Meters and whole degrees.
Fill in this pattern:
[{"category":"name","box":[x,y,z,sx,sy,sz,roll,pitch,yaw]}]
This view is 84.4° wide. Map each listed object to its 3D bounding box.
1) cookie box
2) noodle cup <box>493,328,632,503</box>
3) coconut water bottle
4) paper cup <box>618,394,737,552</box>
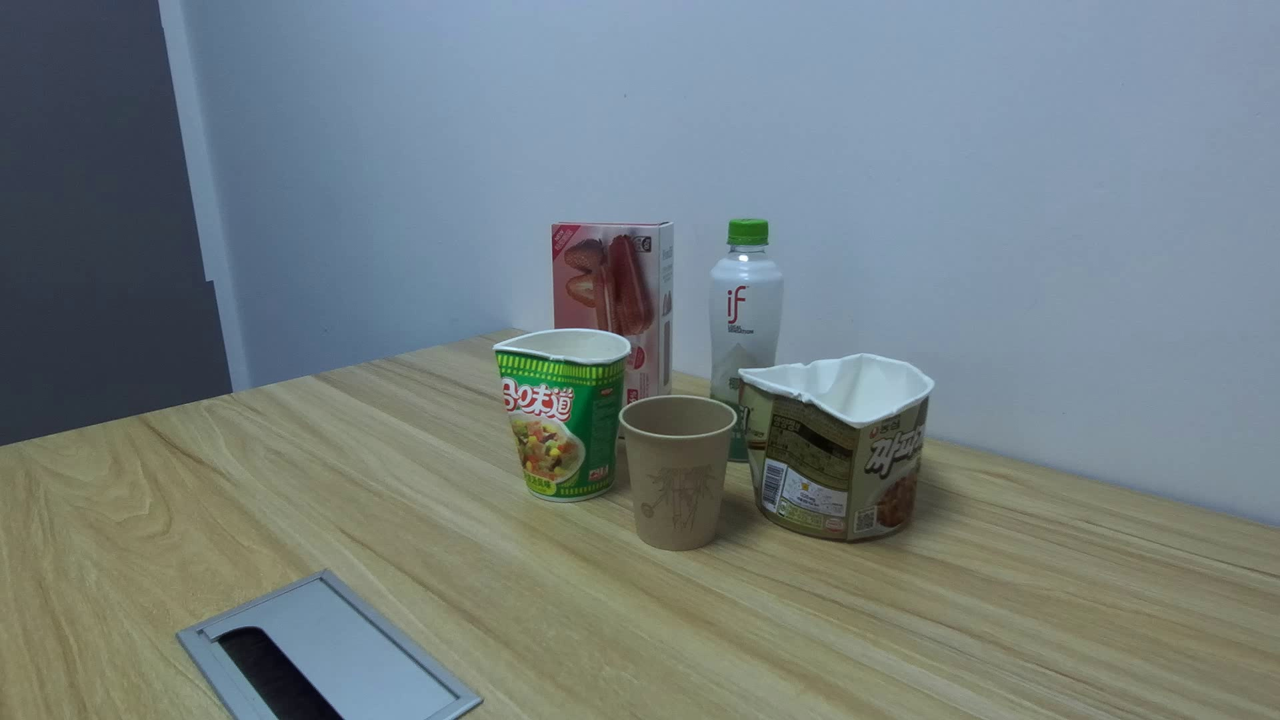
[{"category":"cookie box","box":[-0.021,-0.026,0.615,0.096,0.184,0.048,4,15,17]},{"category":"noodle cup","box":[-0.049,0.040,0.525,0.087,0.109,0.093,-15,23,-37]},{"category":"coconut water bottle","box":[0.084,-0.016,0.567,0.063,0.188,0.063,0,17,0]},{"category":"paper cup","box":[0.024,0.074,0.458,0.075,0.082,0.075,0,17,0]}]
